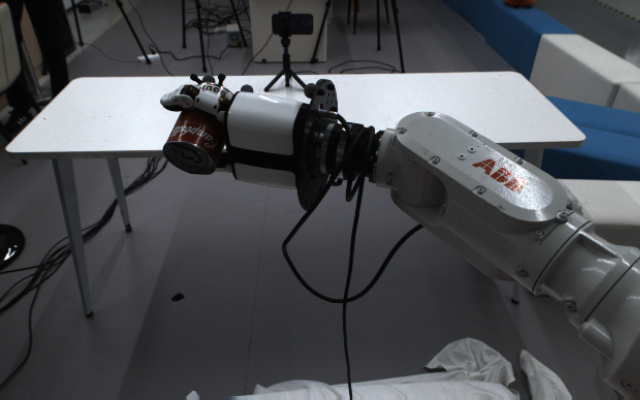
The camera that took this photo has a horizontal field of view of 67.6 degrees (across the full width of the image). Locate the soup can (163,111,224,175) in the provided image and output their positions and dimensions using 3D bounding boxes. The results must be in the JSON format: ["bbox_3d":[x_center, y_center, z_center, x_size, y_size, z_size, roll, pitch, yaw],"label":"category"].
[{"bbox_3d":[-0.149,-0.092,0.618,0.067,0.067,0.101,9,59,10],"label":"soup can"}]
